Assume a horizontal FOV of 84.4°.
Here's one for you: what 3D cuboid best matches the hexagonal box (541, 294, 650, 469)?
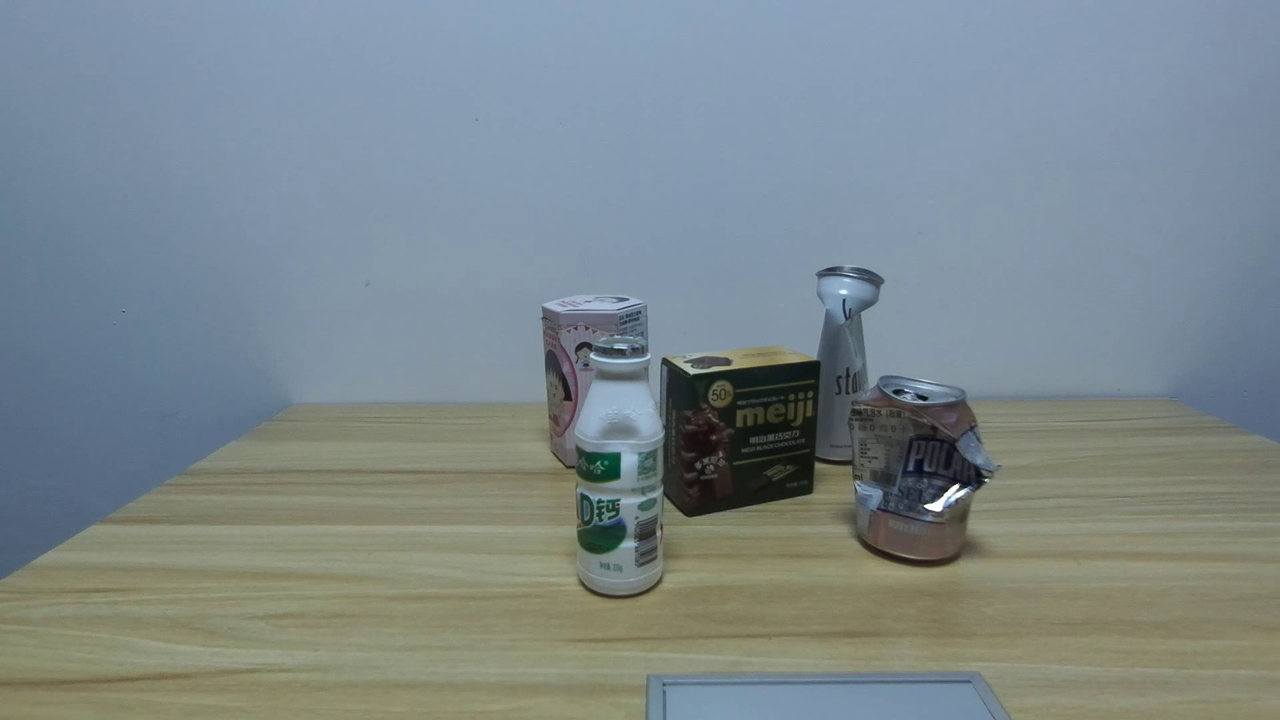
[{"bbox_3d":[-0.038,0.017,0.614,0.084,0.136,0.091,-7,15,-26],"label":"hexagonal box"}]

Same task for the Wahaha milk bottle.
[{"bbox_3d":[-0.011,0.067,0.414,0.053,0.136,0.053,0,14,0],"label":"Wahaha milk bottle"}]

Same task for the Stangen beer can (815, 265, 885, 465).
[{"bbox_3d":[0.174,0.003,0.607,0.066,0.162,0.077,-5,16,-15],"label":"Stangen beer can"}]

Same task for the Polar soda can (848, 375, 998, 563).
[{"bbox_3d":[0.177,0.069,0.450,0.074,0.114,0.070,-6,21,-5],"label":"Polar soda can"}]

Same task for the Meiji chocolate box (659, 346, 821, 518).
[{"bbox_3d":[0.074,0.051,0.533,0.110,0.109,0.056,-6,15,-21],"label":"Meiji chocolate box"}]
